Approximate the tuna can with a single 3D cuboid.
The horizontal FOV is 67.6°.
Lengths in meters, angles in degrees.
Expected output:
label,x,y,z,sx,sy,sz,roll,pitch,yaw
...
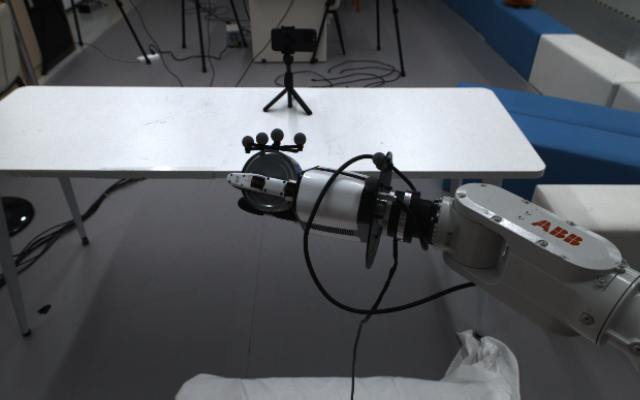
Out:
label,x,y,z,sx,sy,sz,roll,pitch,yaw
tuna can,-0.066,-0.025,0.681,0.085,0.085,0.034,15,1,18
